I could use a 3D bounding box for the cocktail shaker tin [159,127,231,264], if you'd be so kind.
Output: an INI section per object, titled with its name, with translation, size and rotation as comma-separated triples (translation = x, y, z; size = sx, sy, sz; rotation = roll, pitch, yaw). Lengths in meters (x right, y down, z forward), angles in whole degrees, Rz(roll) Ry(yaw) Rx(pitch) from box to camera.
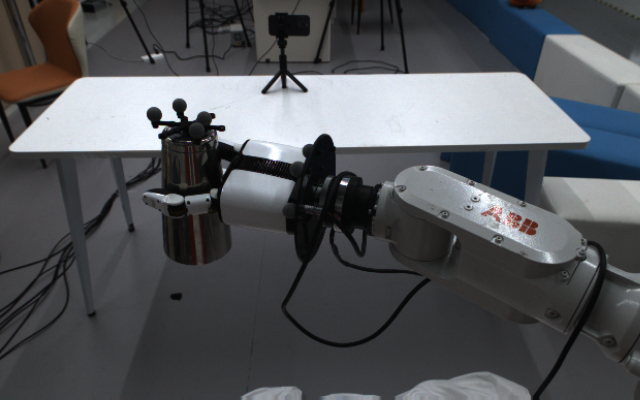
[cocktail shaker tin]
translation = -0.163, -0.011, 0.627
size = 0.093, 0.170, 0.093
rotation = 3, 32, -2
